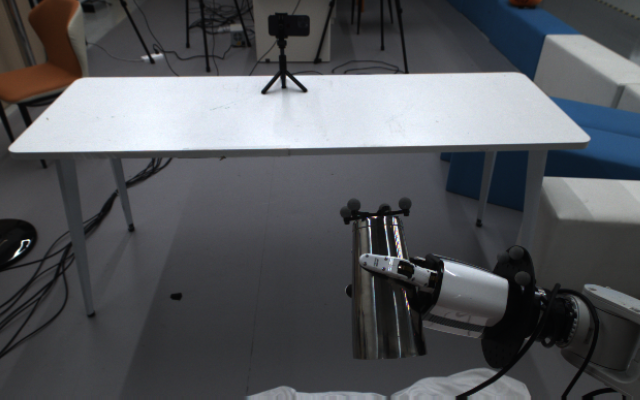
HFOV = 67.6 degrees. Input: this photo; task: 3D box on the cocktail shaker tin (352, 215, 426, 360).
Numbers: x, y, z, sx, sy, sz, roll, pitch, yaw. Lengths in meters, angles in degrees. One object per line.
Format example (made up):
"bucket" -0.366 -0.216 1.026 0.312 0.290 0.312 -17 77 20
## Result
"cocktail shaker tin" 0.081 0.110 0.619 0.093 0.093 0.170 -3 76 -7
